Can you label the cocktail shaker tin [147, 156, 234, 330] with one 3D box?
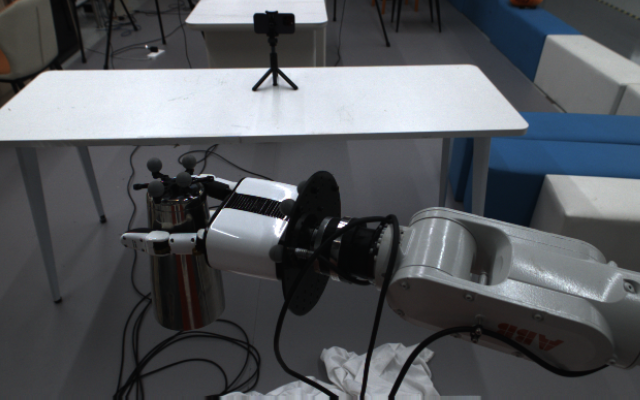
[{"bbox_3d":[-0.165,0.062,0.597,0.093,0.170,0.093,1,27,-1],"label":"cocktail shaker tin"}]
